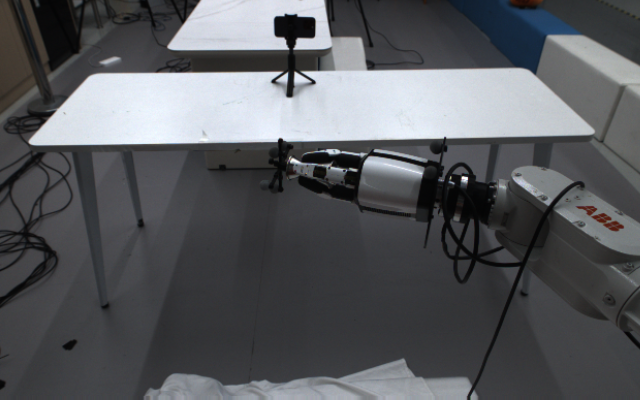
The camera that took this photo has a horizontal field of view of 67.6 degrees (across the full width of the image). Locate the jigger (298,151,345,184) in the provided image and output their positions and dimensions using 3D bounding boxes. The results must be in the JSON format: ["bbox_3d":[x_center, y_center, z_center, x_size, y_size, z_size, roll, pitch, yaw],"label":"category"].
[{"bbox_3d":[-0.007,-0.048,0.731,0.071,0.043,0.043,10,35,16],"label":"jigger"}]
